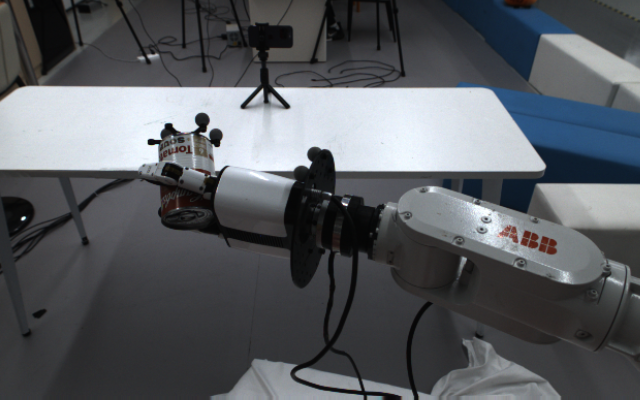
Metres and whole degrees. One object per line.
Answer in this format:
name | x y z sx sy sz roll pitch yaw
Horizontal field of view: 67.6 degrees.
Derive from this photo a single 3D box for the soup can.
soup can | -0.159 -0.021 0.590 0.067 0.067 0.101 -6 67 -12
